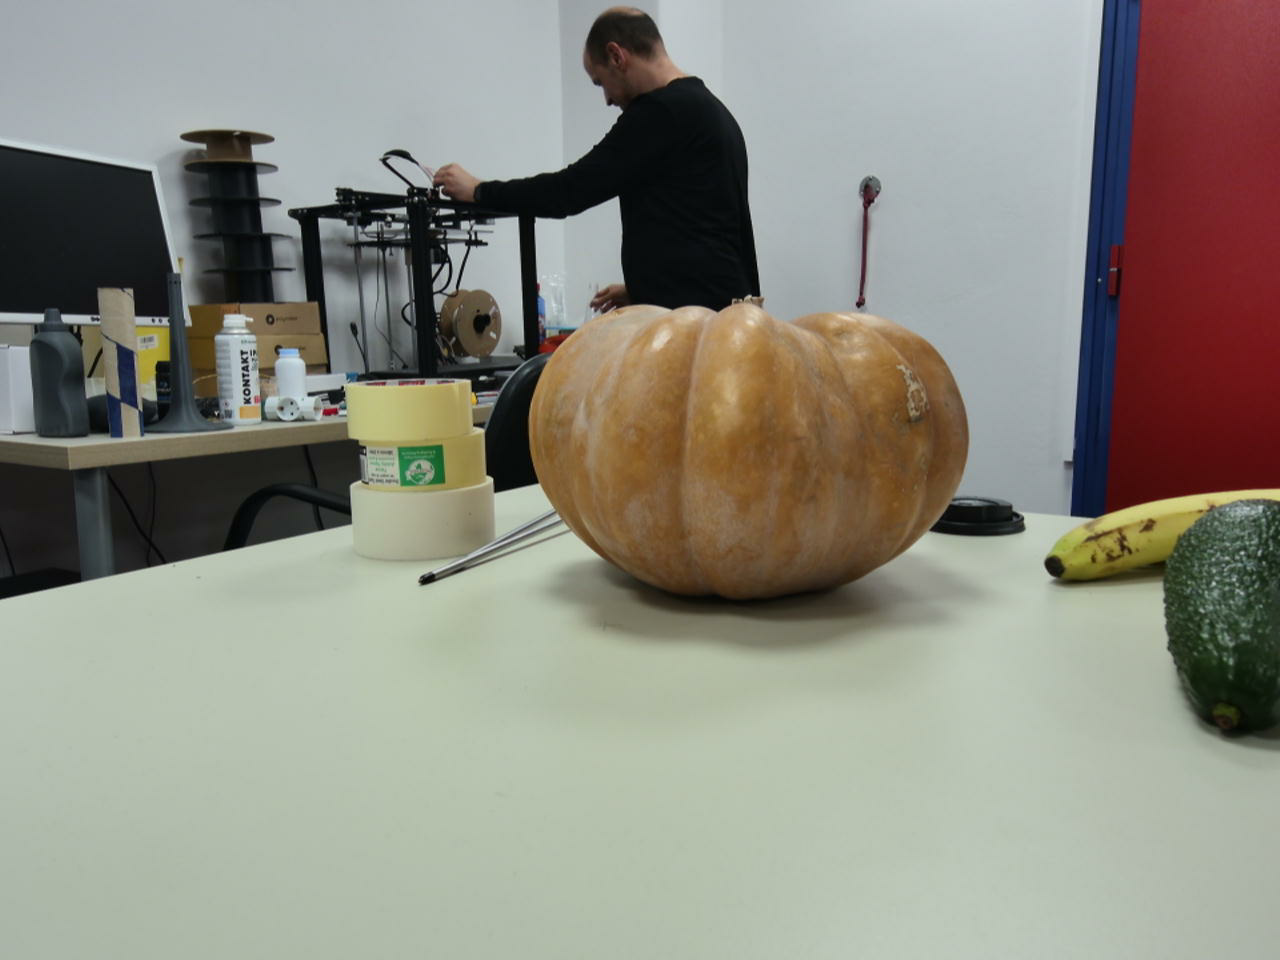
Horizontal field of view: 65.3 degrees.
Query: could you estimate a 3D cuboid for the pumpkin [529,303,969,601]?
[{"bbox_3d":[0.062,-0.024,0.636,0.277,0.181,0.277,0,7,0],"label":"pumpkin"}]
